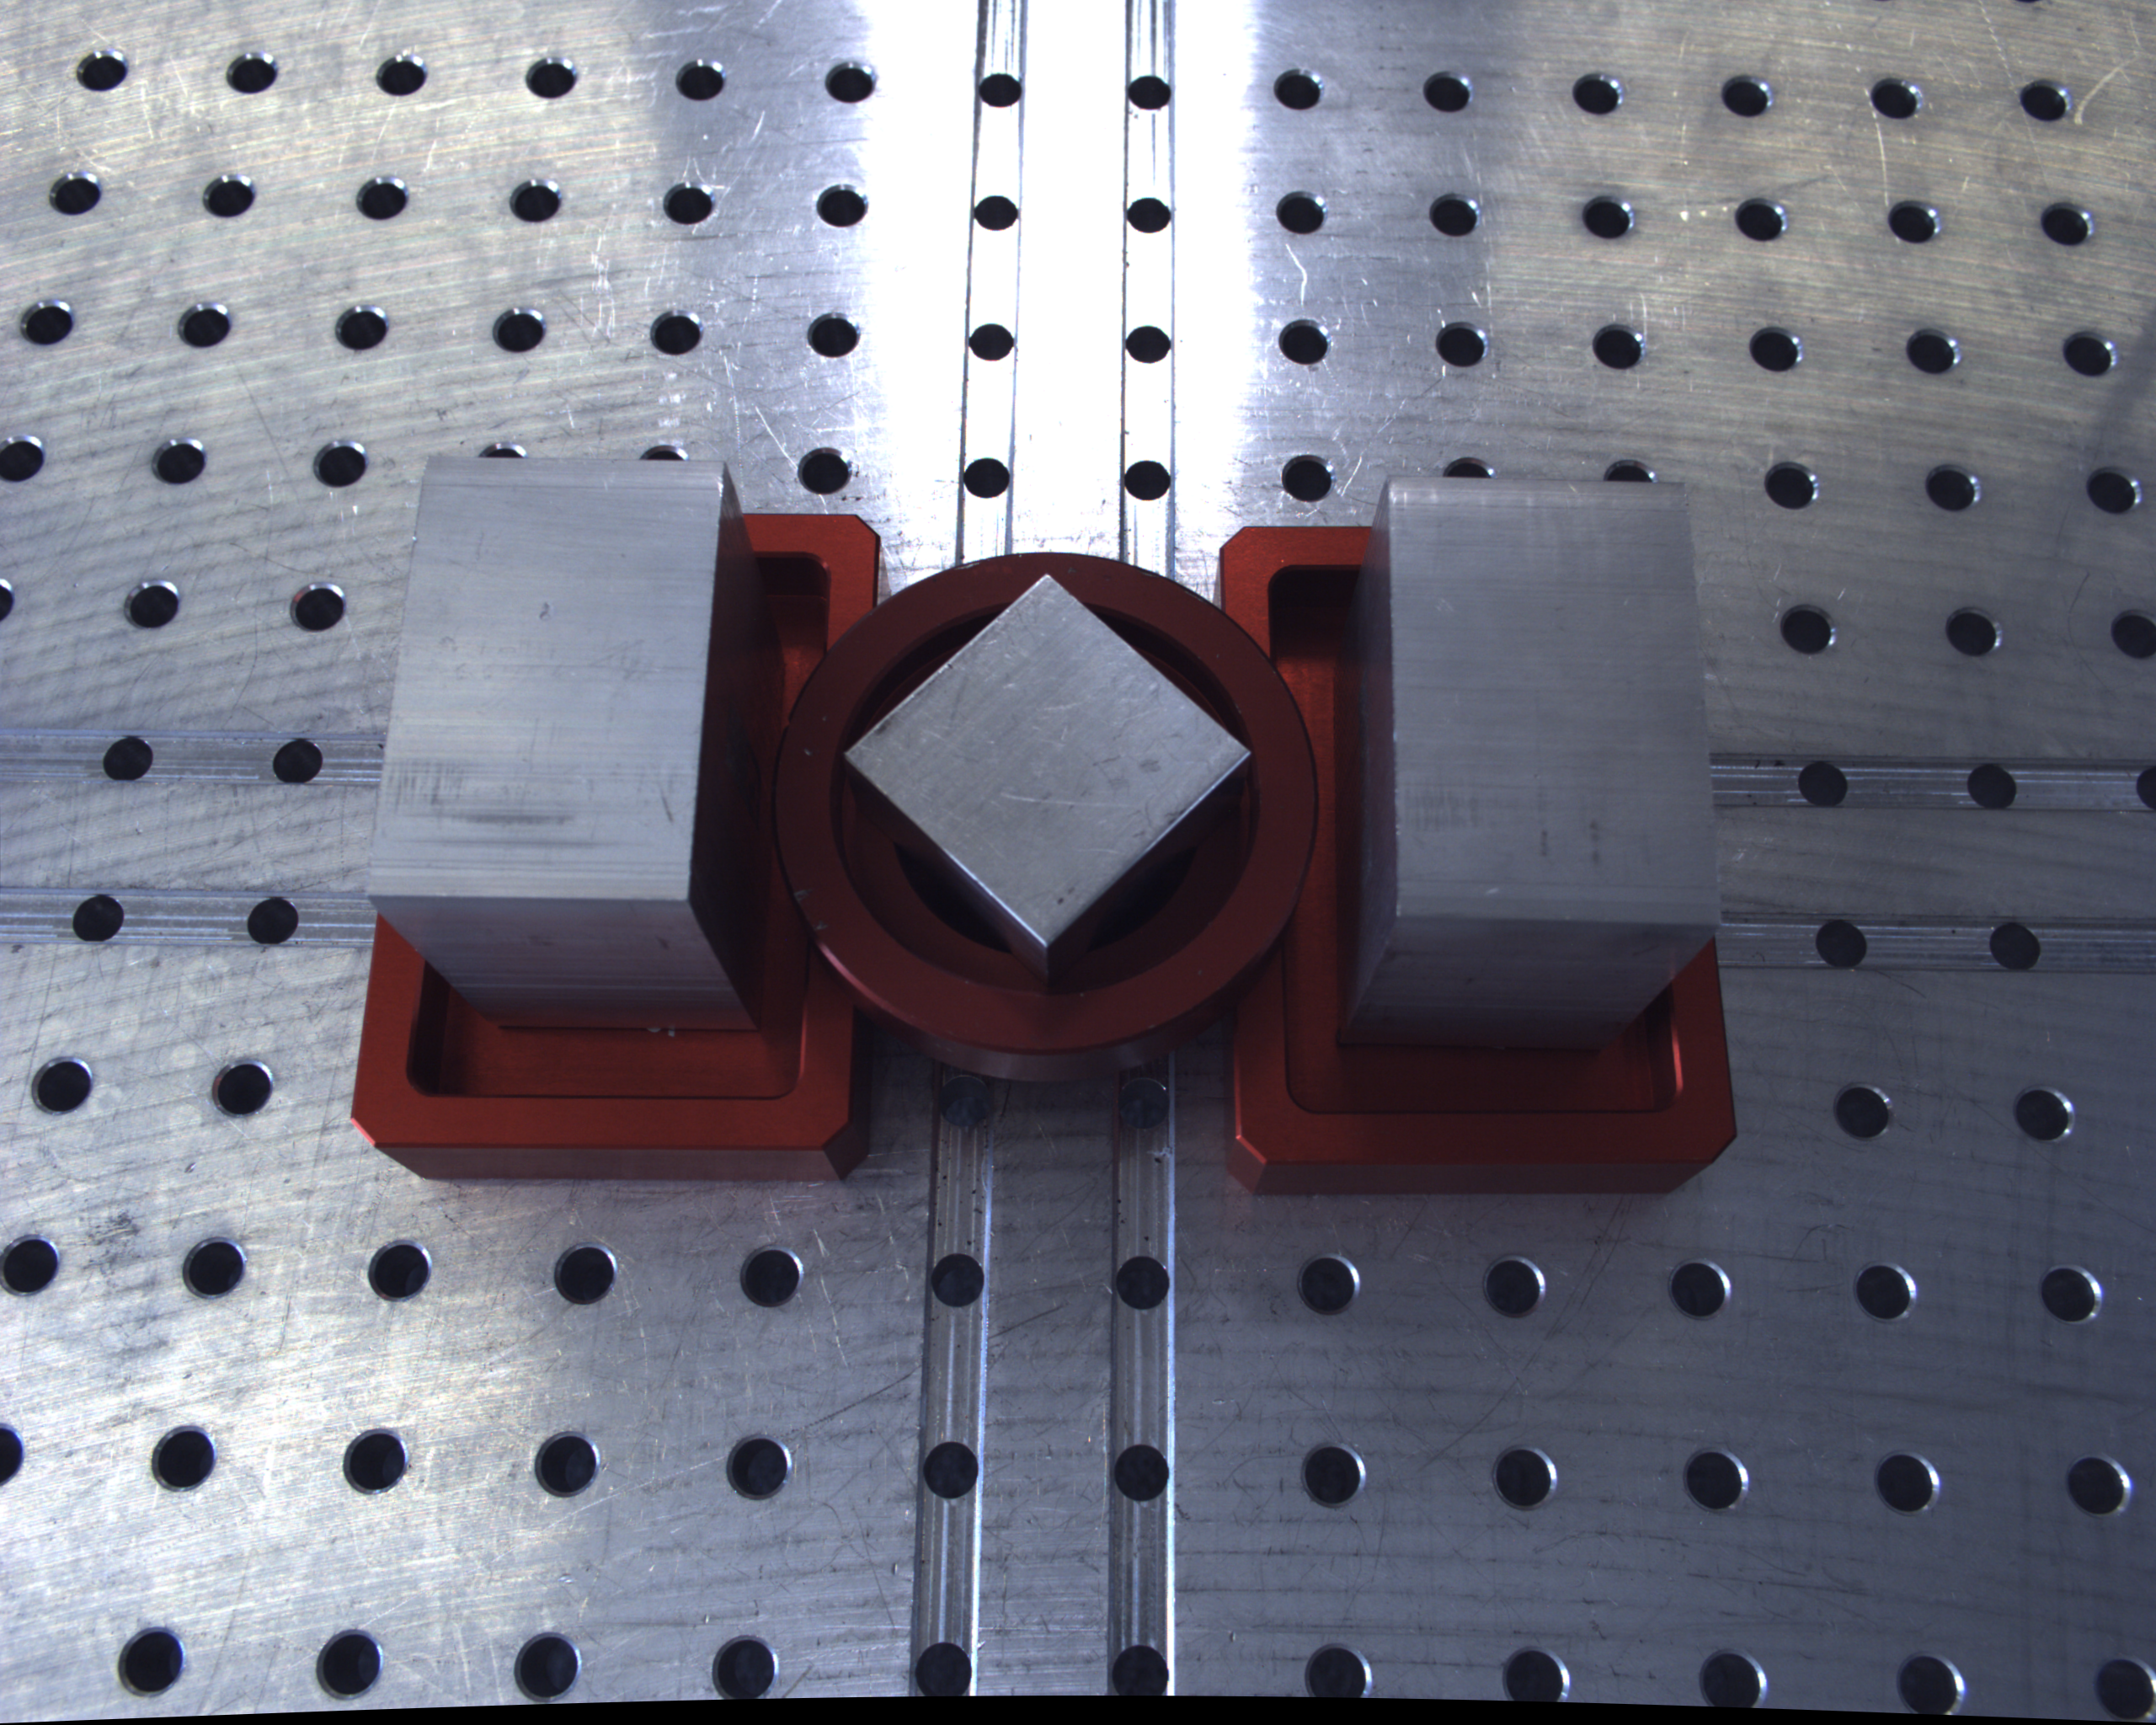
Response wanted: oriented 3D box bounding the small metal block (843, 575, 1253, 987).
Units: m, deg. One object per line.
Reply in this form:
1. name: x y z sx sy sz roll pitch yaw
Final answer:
1. small metal block: -0.005 -0.014 0.374 0.050 0.025 0.050 43 75 14

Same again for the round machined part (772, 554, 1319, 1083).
1. round machined part: -0.006 -0.006 0.395 0.099 0.042 0.098 0 70 0

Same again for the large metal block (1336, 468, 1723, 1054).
1. large metal block: 0.076 -0.015 0.374 0.050 0.080 0.080 1 70 1

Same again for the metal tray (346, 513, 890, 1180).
1. metal tray: -0.086 -0.005 0.409 0.091 0.030 0.130 1 70 0

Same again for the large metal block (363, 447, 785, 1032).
1. large metal block: -0.085 -0.019 0.375 0.050 0.080 0.080 1 70 0

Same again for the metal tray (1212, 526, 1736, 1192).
1. metal tray: 0.073 -0.002 0.409 0.091 0.030 0.130 0 70 0
